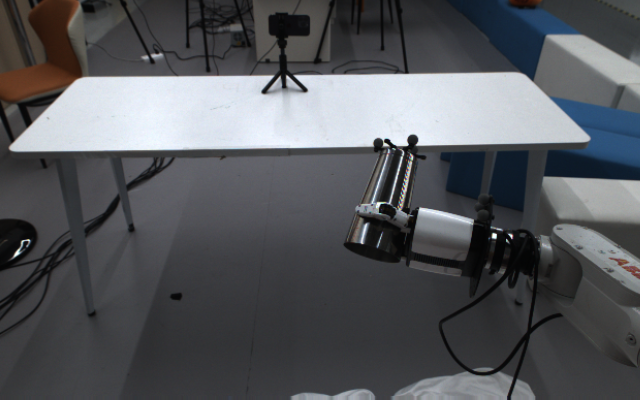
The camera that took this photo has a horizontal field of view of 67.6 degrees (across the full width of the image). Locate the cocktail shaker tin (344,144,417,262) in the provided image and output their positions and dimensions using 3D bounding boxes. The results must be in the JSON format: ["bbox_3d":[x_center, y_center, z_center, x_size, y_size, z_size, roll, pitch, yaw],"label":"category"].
[{"bbox_3d":[0.104,0.007,0.783,0.093,0.093,0.170,14,73,16],"label":"cocktail shaker tin"}]
